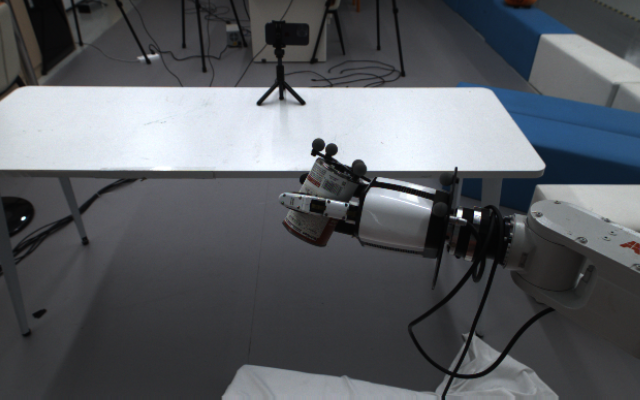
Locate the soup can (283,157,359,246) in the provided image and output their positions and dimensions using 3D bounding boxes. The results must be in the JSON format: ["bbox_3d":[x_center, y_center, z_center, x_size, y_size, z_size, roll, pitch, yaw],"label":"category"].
[{"bbox_3d":[0.002,0.003,0.651,0.067,0.101,0.067,27,10,-5],"label":"soup can"}]
